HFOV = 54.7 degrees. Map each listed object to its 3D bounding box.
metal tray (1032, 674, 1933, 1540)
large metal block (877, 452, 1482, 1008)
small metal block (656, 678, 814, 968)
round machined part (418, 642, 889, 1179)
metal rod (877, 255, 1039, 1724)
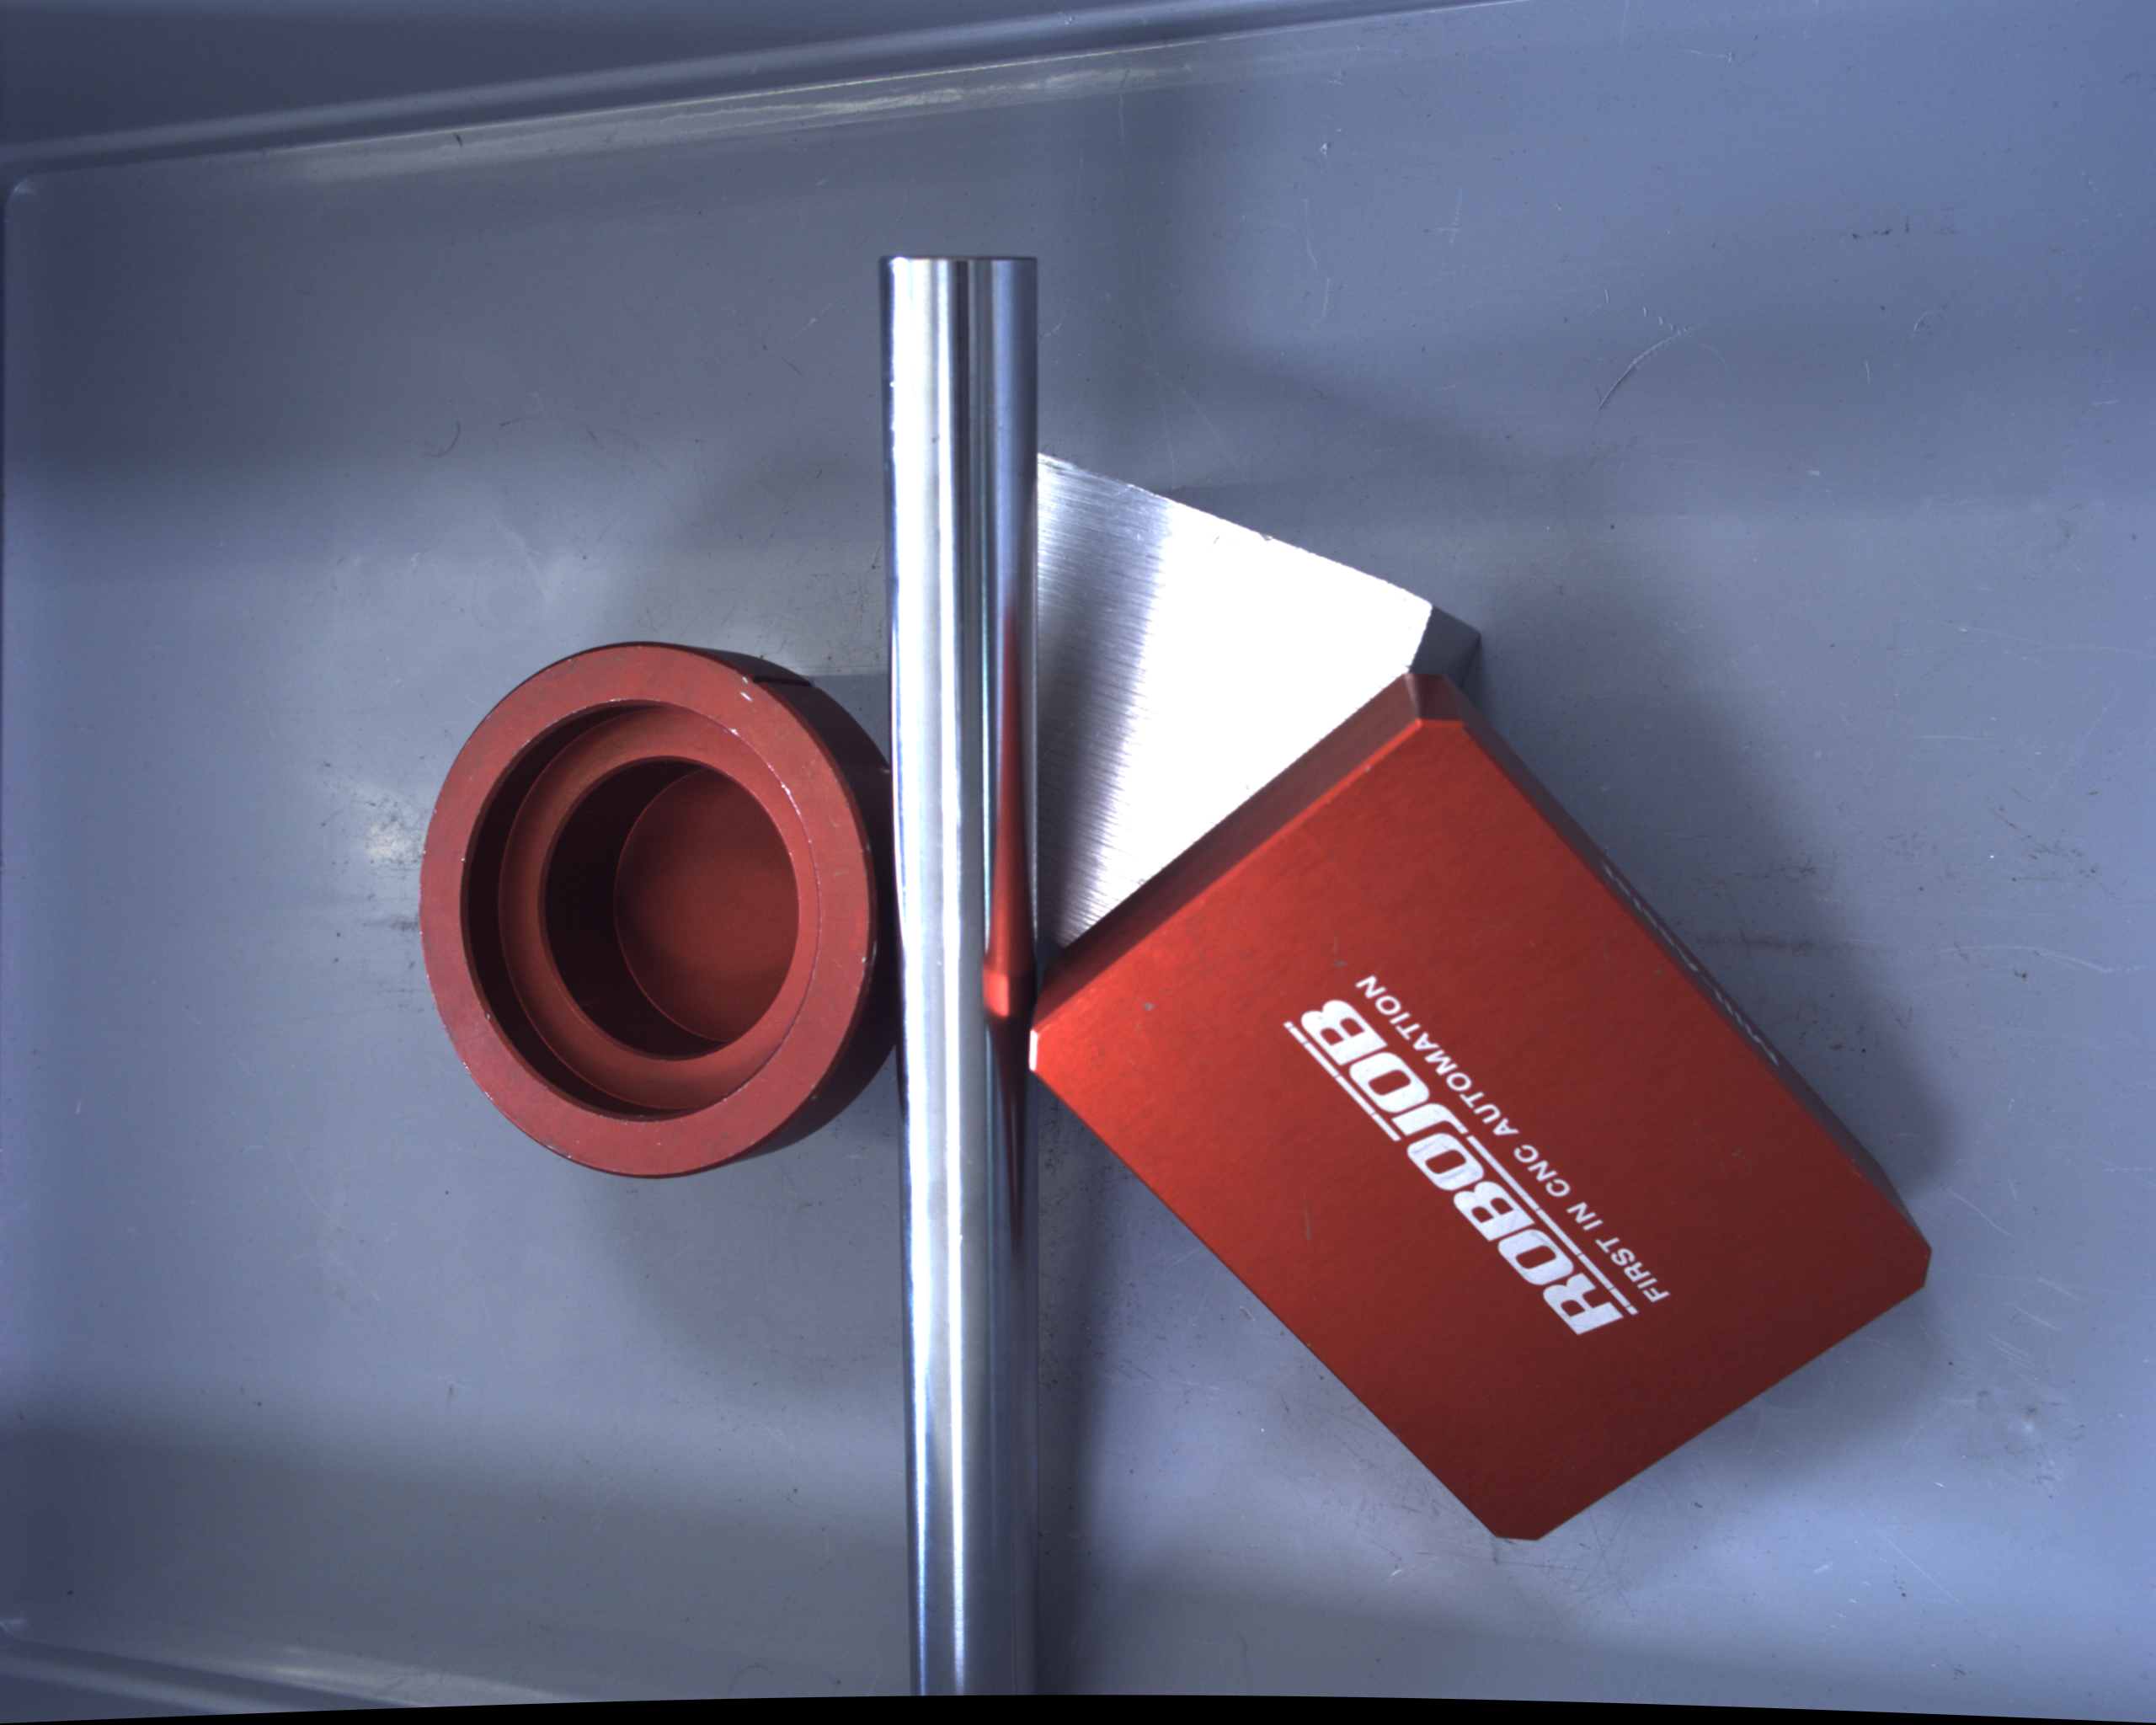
[{"bbox_3d":[0.068,0.044,0.355,0.090,0.030,0.130,-40,103,16],"label":"metal tray"},{"bbox_3d":[0.019,-0.023,0.389,0.080,0.050,0.080,24,98,18],"label":"large metal block"},{"bbox_3d":[-0.074,-0.007,0.435,0.050,0.025,0.050,-23,82,18],"label":"small metal block"},{"bbox_3d":[-0.072,0.008,0.396,0.098,0.042,0.097,0,91,23],"label":"round machined part"},{"bbox_3d":[-0.020,0.046,0.373,0.025,0.025,0.298,6,108,20],"label":"metal rod"}]
